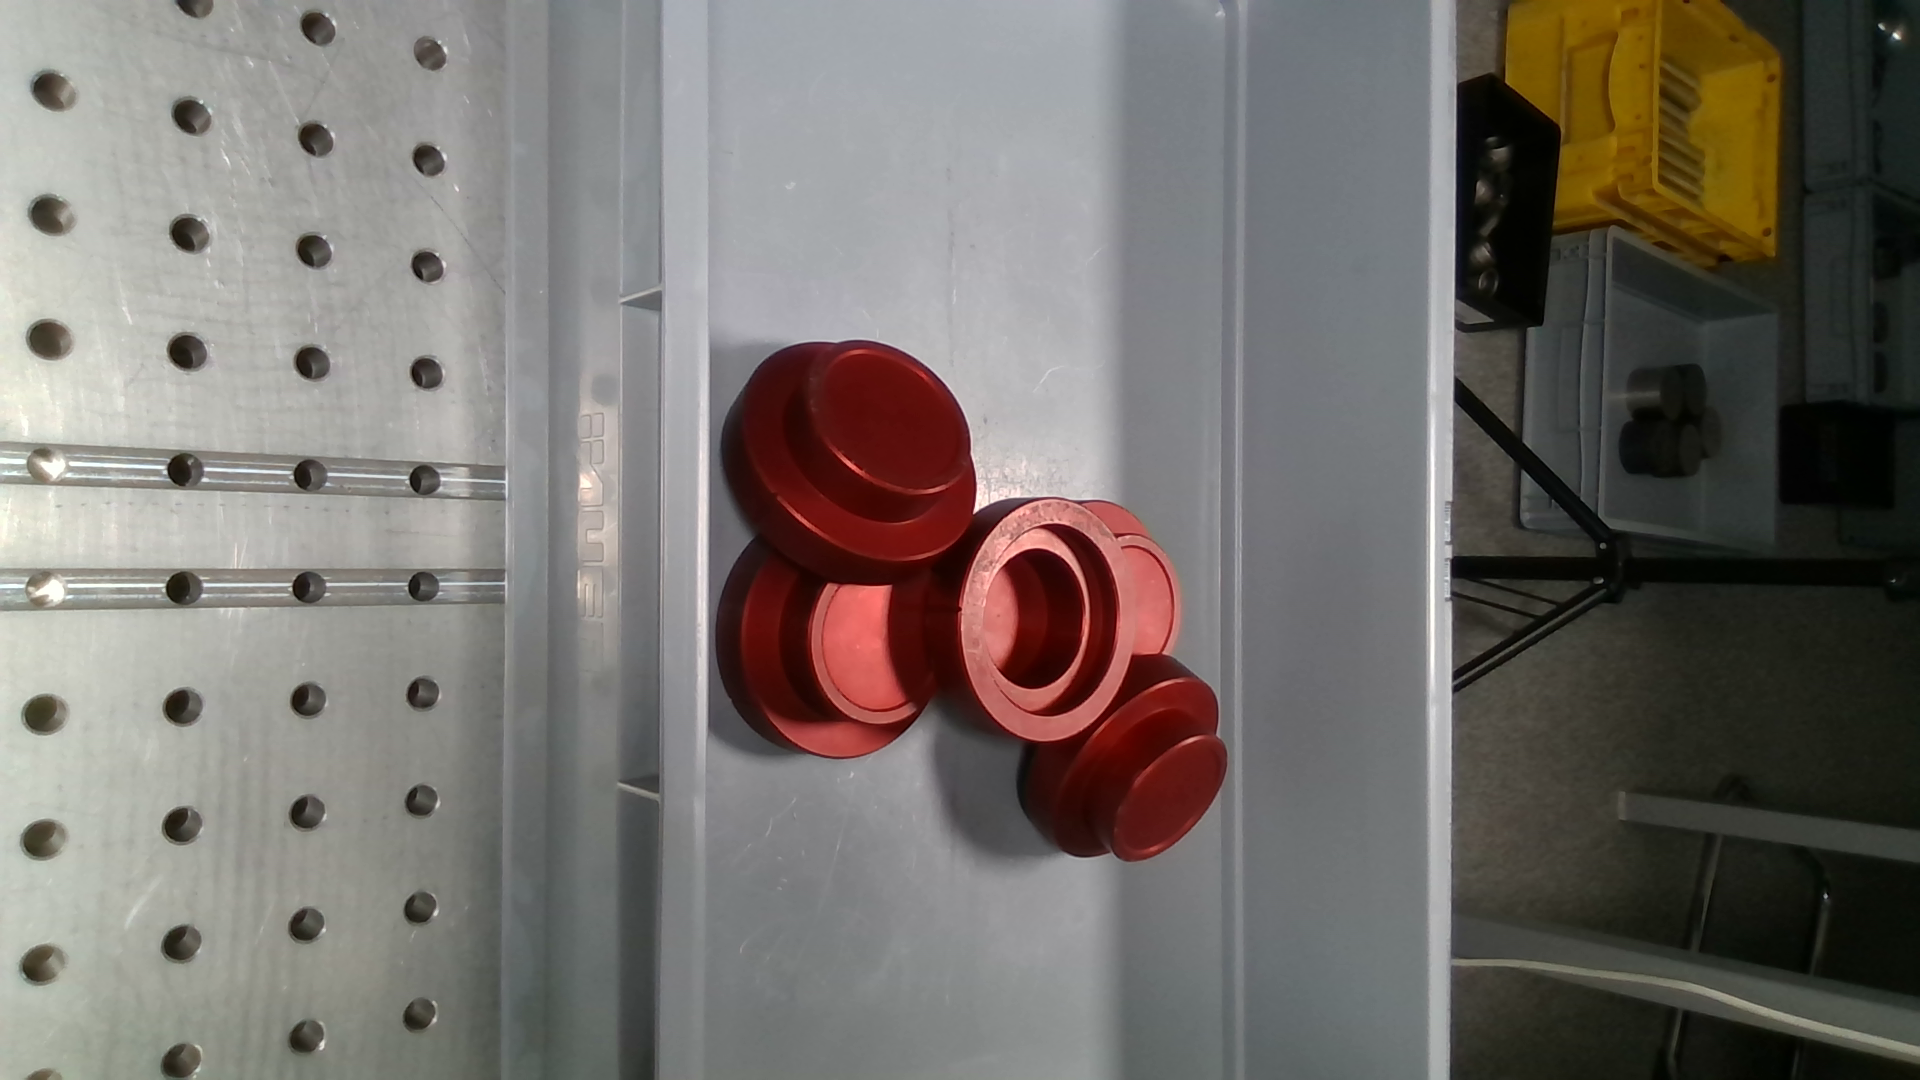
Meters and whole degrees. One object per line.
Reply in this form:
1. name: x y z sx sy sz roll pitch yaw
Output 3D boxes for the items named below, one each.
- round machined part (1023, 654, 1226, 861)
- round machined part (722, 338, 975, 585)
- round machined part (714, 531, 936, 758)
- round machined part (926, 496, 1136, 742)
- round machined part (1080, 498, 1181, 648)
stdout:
1. round machined part: 0.079 0.102 0.610 0.098 0.042 0.098 -25 135 -27
2. round machined part: -0.036 -0.036 0.513 0.098 0.042 0.098 19 50 -25
3. round machined part: -0.042 0.036 0.535 0.098 0.042 0.098 0 90 -40
4. round machined part: 0.024 0.031 0.562 0.098 0.042 0.098 0 90 -40
5. round machined part: 0.062 0.030 0.622 0.098 0.042 0.098 0 90 -40
